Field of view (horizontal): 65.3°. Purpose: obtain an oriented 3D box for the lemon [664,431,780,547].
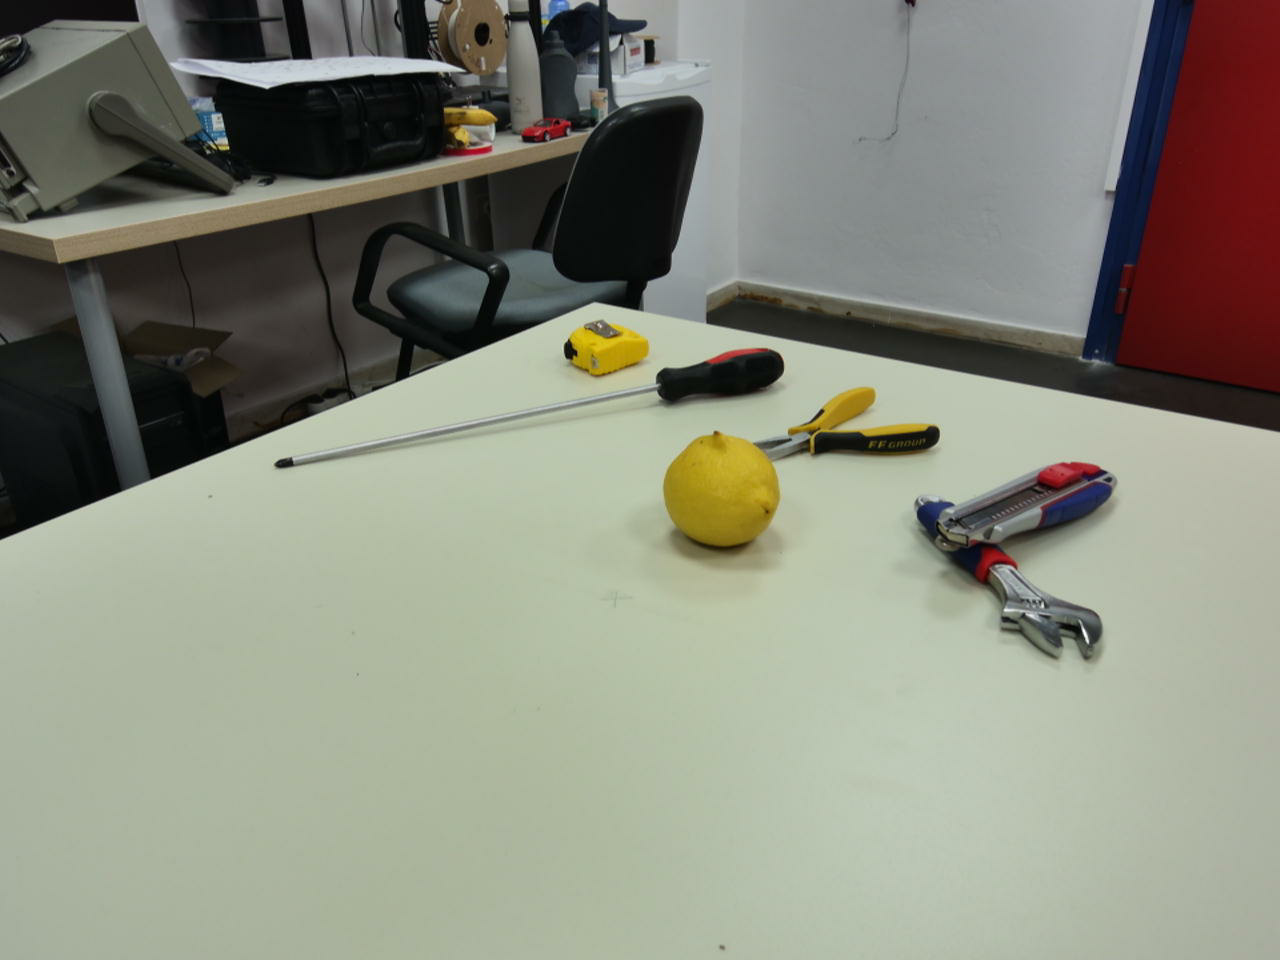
[{"bbox_3d":[0.050,0.003,0.606,0.070,0.071,0.071,1,25,2],"label":"lemon"}]
